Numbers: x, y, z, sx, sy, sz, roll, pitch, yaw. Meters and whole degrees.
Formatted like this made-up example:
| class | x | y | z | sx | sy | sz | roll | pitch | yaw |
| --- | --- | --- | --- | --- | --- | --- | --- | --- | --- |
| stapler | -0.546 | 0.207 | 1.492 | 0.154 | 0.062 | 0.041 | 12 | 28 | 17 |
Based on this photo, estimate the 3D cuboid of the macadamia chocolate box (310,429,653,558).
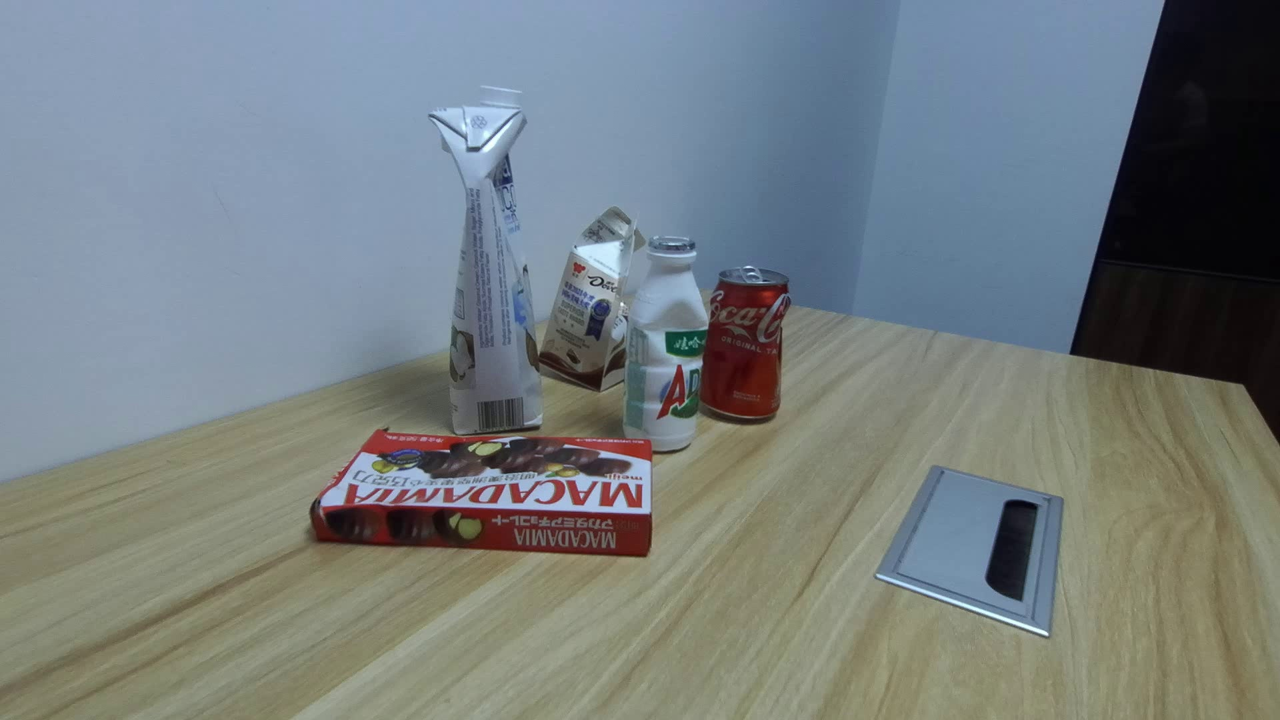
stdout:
| class | x | y | z | sx | sy | sz | roll | pitch | yaw |
| --- | --- | --- | --- | --- | --- | --- | --- | --- | --- |
| macadamia chocolate box | -0.084 | 0.074 | 0.417 | 0.183 | 0.028 | 0.105 | 2 | 18 | 0 |

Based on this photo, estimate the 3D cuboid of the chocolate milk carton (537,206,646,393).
| class | x | y | z | sx | sy | sz | roll | pitch | yaw |
| --- | --- | --- | --- | --- | --- | --- | --- | --- | --- |
| chocolate milk carton | -0.030 | -0.055 | 0.626 | 0.076 | 0.155 | 0.089 | 15 | 6 | 25 |

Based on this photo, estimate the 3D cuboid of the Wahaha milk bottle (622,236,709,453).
| class | x | y | z | sx | sy | sz | roll | pitch | yaw |
| --- | --- | --- | --- | --- | --- | --- | --- | --- | --- |
| Wahaha milk bottle | 0.018 | -0.010 | 0.490 | 0.056 | 0.147 | 0.056 | 4 | 19 | -1 |

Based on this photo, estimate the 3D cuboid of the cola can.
| class | x | y | z | sx | sy | sz | roll | pitch | yaw |
| --- | --- | --- | --- | --- | --- | --- | --- | --- | --- |
| cola can | 0.085 | -0.014 | 0.565 | 0.066 | 0.117 | 0.066 | 12 | 22 | 25 |

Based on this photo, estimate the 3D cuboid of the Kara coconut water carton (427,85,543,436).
| class | x | y | z | sx | sy | sz | roll | pitch | yaw |
| --- | --- | --- | --- | --- | --- | --- | --- | --- | --- |
| Kara coconut water carton | -0.108 | -0.070 | 0.509 | 0.069 | 0.238 | 0.115 | -3 | 16 | -13 |
